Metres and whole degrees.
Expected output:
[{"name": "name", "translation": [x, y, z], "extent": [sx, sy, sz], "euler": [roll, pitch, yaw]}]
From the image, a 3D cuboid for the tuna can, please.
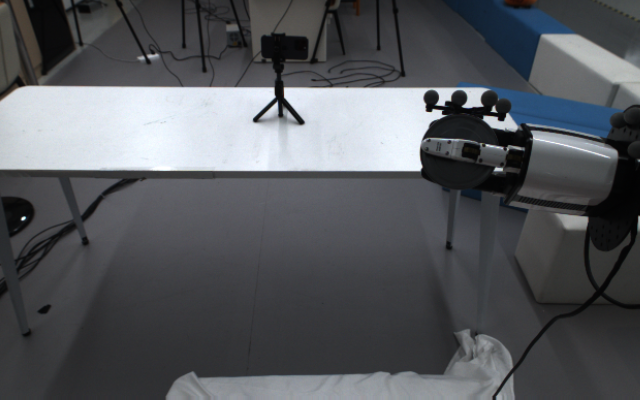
[{"name": "tuna can", "translation": [0.160, -0.060, 0.555], "extent": [0.085, 0.085, 0.034], "euler": [10, 3, 12]}]
